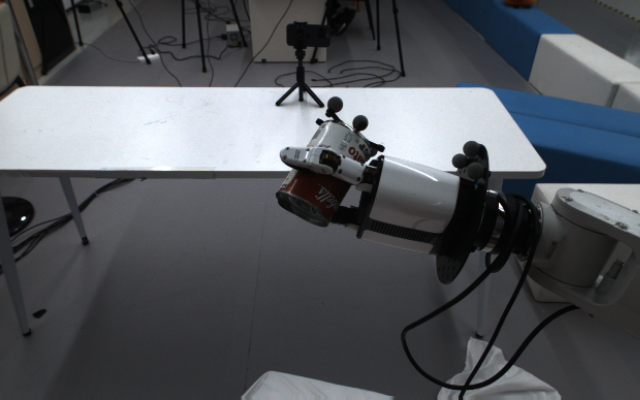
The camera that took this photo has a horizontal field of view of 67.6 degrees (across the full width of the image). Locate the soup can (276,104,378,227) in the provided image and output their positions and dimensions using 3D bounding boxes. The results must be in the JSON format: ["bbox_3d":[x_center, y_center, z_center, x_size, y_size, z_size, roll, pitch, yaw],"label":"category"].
[{"bbox_3d":[0.007,-0.029,0.540,0.067,0.067,0.101,23,71,27],"label":"soup can"}]
